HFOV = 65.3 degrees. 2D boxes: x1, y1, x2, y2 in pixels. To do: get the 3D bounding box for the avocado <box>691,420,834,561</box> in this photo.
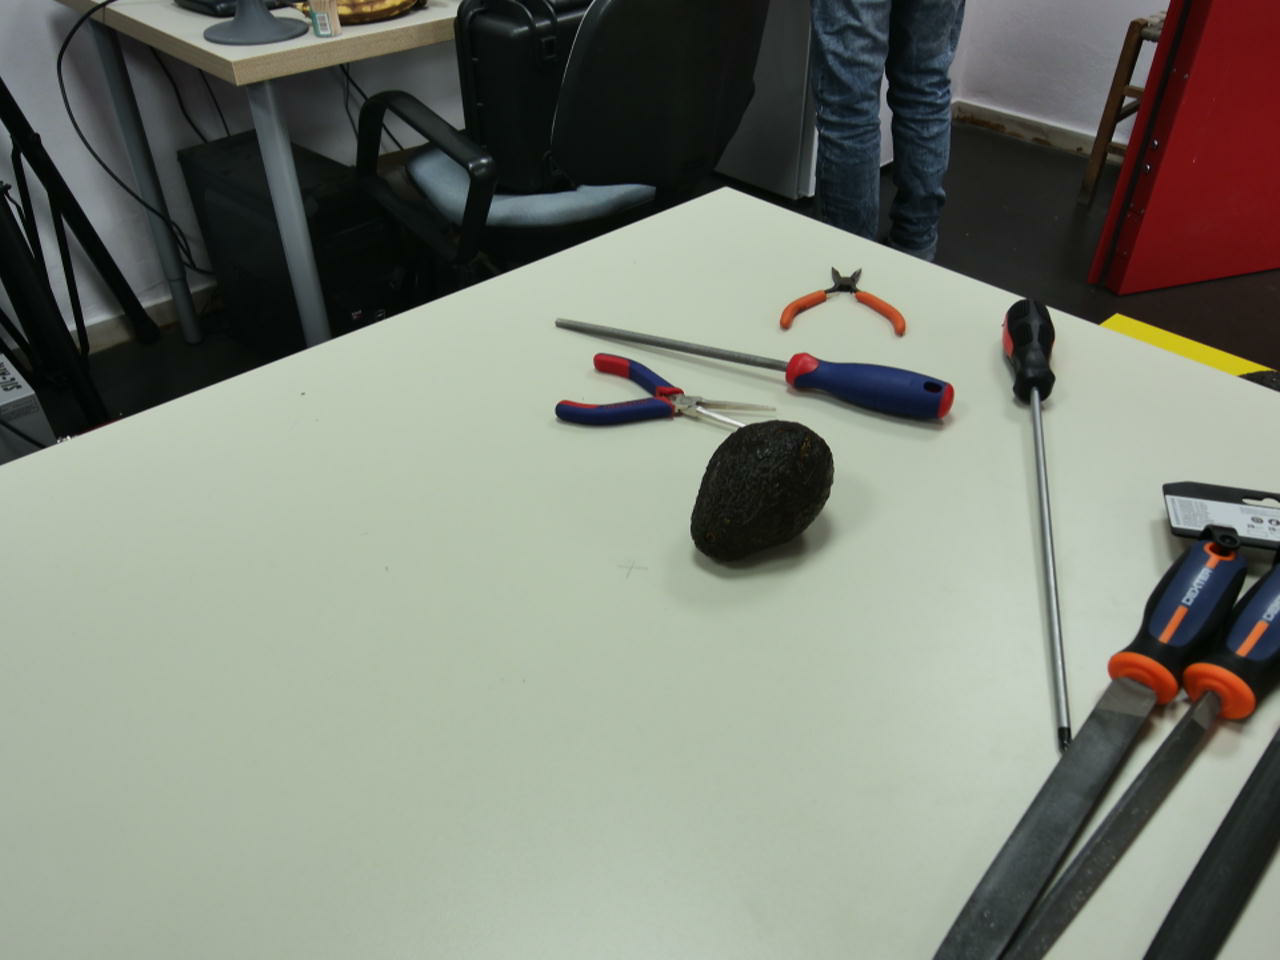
[{"bbox_3d":[0.069,0.002,0.582,0.090,0.069,0.070,-10,38,-12],"label":"avocado"}]
